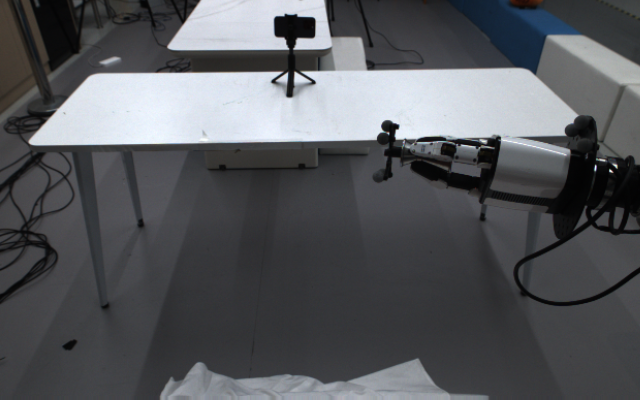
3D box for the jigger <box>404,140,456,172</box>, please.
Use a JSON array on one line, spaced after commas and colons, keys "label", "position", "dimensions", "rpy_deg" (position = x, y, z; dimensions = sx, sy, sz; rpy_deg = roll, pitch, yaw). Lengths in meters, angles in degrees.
[{"label": "jigger", "position": [0.154, -0.065, 0.666], "dimensions": [0.071, 0.043, 0.043], "rpy_deg": [8, 35, 14]}]
